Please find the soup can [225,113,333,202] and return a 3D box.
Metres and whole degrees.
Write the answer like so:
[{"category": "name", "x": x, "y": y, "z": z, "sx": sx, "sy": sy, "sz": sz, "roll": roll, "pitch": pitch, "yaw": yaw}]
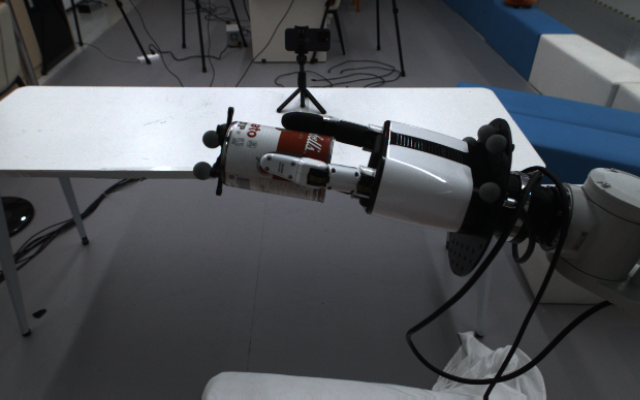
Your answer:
[{"category": "soup can", "x": -0.038, "y": -0.039, "z": 0.487, "sx": 0.101, "sy": 0.067, "sz": 0.067, "roll": 10, "pitch": 35, "yaw": 0}]
